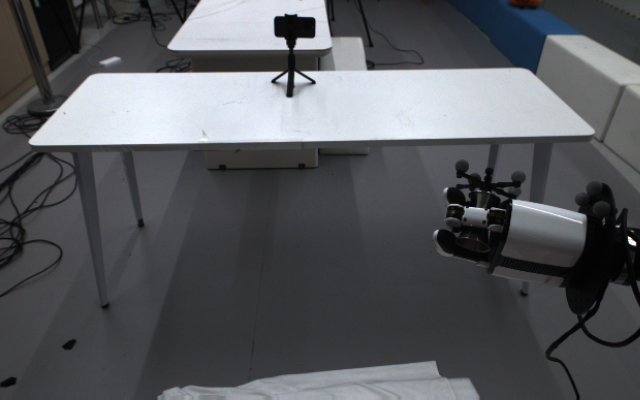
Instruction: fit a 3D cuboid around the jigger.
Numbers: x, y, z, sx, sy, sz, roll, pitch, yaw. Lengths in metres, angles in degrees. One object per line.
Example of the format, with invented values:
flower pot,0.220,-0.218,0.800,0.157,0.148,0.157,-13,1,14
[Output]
jigger,0.204,0.026,0.614,0.043,0.043,0.071,13,69,15
